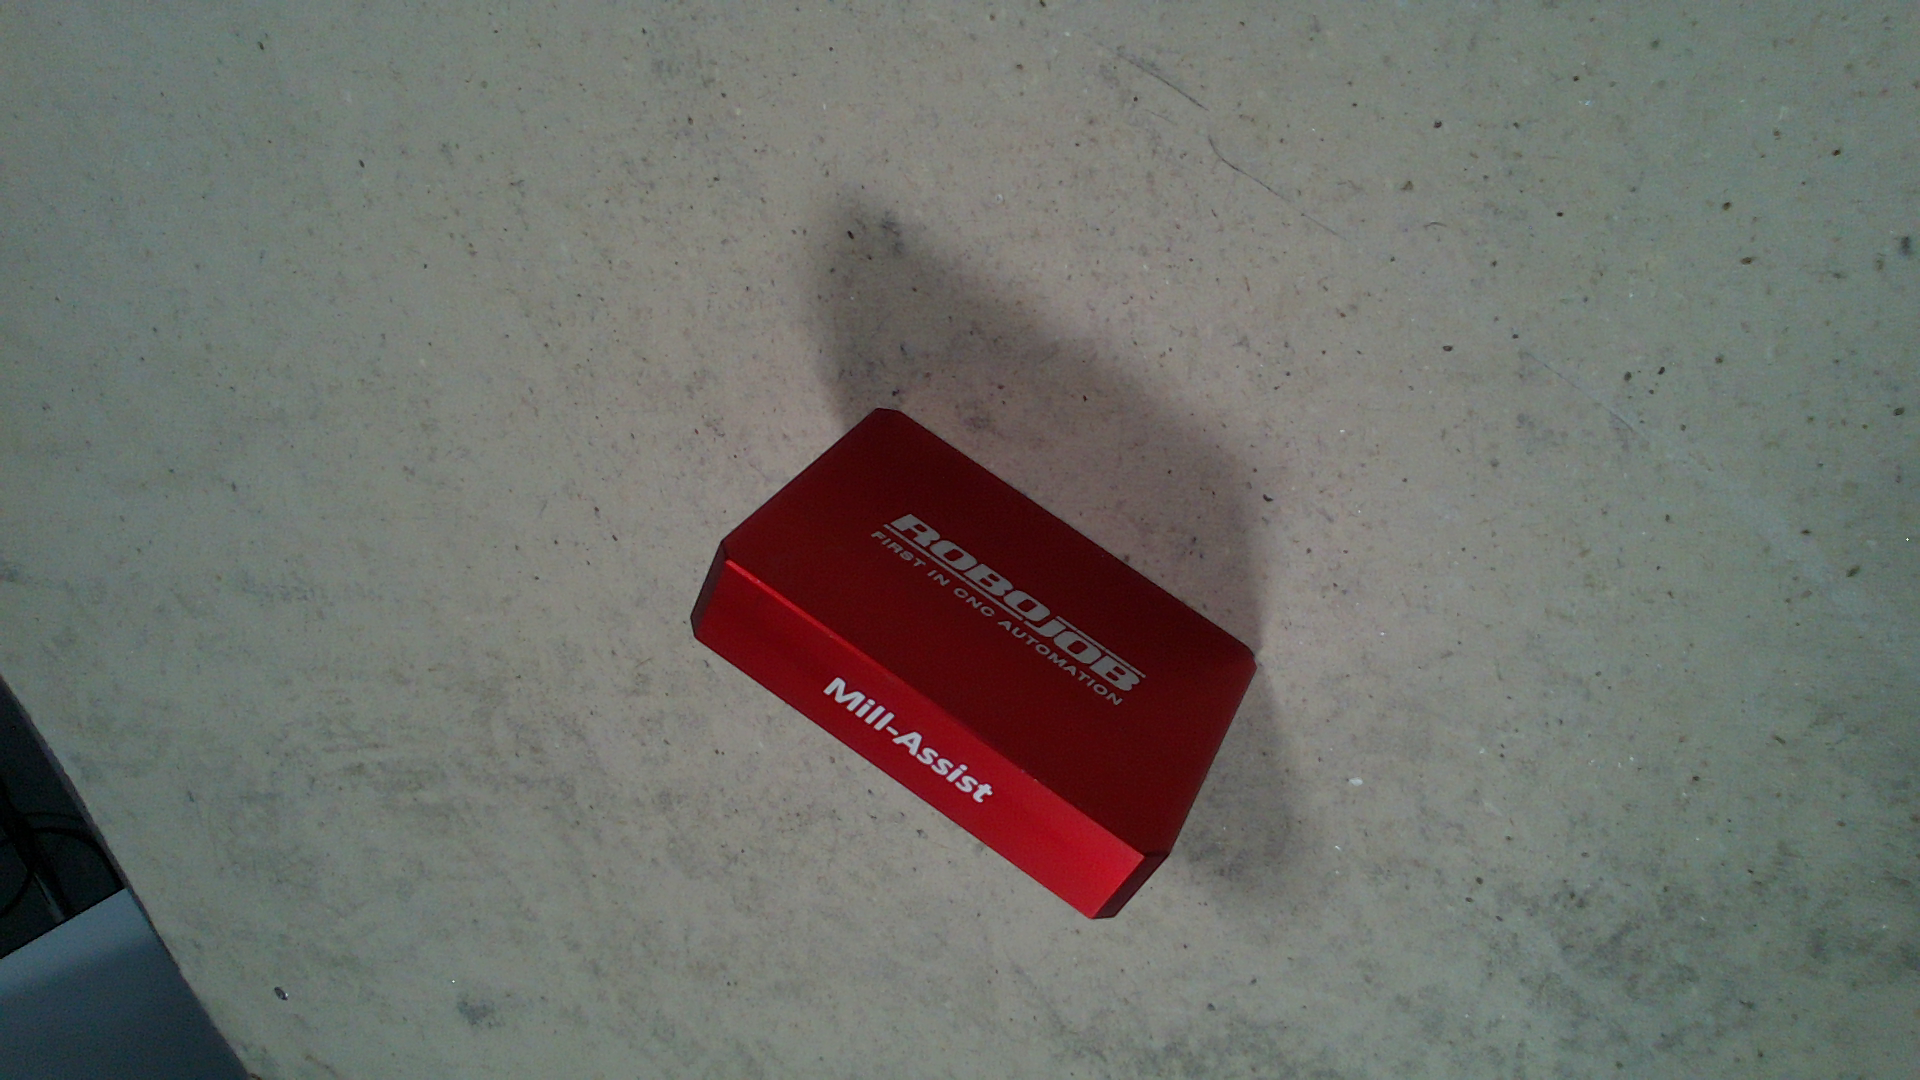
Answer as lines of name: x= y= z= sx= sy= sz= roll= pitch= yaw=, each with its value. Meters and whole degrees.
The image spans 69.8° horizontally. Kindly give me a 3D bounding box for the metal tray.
metal tray: x=0.007 y=0.027 z=0.364 sx=0.130 sy=0.090 sz=0.030 roll=34 pitch=129 yaw=5
